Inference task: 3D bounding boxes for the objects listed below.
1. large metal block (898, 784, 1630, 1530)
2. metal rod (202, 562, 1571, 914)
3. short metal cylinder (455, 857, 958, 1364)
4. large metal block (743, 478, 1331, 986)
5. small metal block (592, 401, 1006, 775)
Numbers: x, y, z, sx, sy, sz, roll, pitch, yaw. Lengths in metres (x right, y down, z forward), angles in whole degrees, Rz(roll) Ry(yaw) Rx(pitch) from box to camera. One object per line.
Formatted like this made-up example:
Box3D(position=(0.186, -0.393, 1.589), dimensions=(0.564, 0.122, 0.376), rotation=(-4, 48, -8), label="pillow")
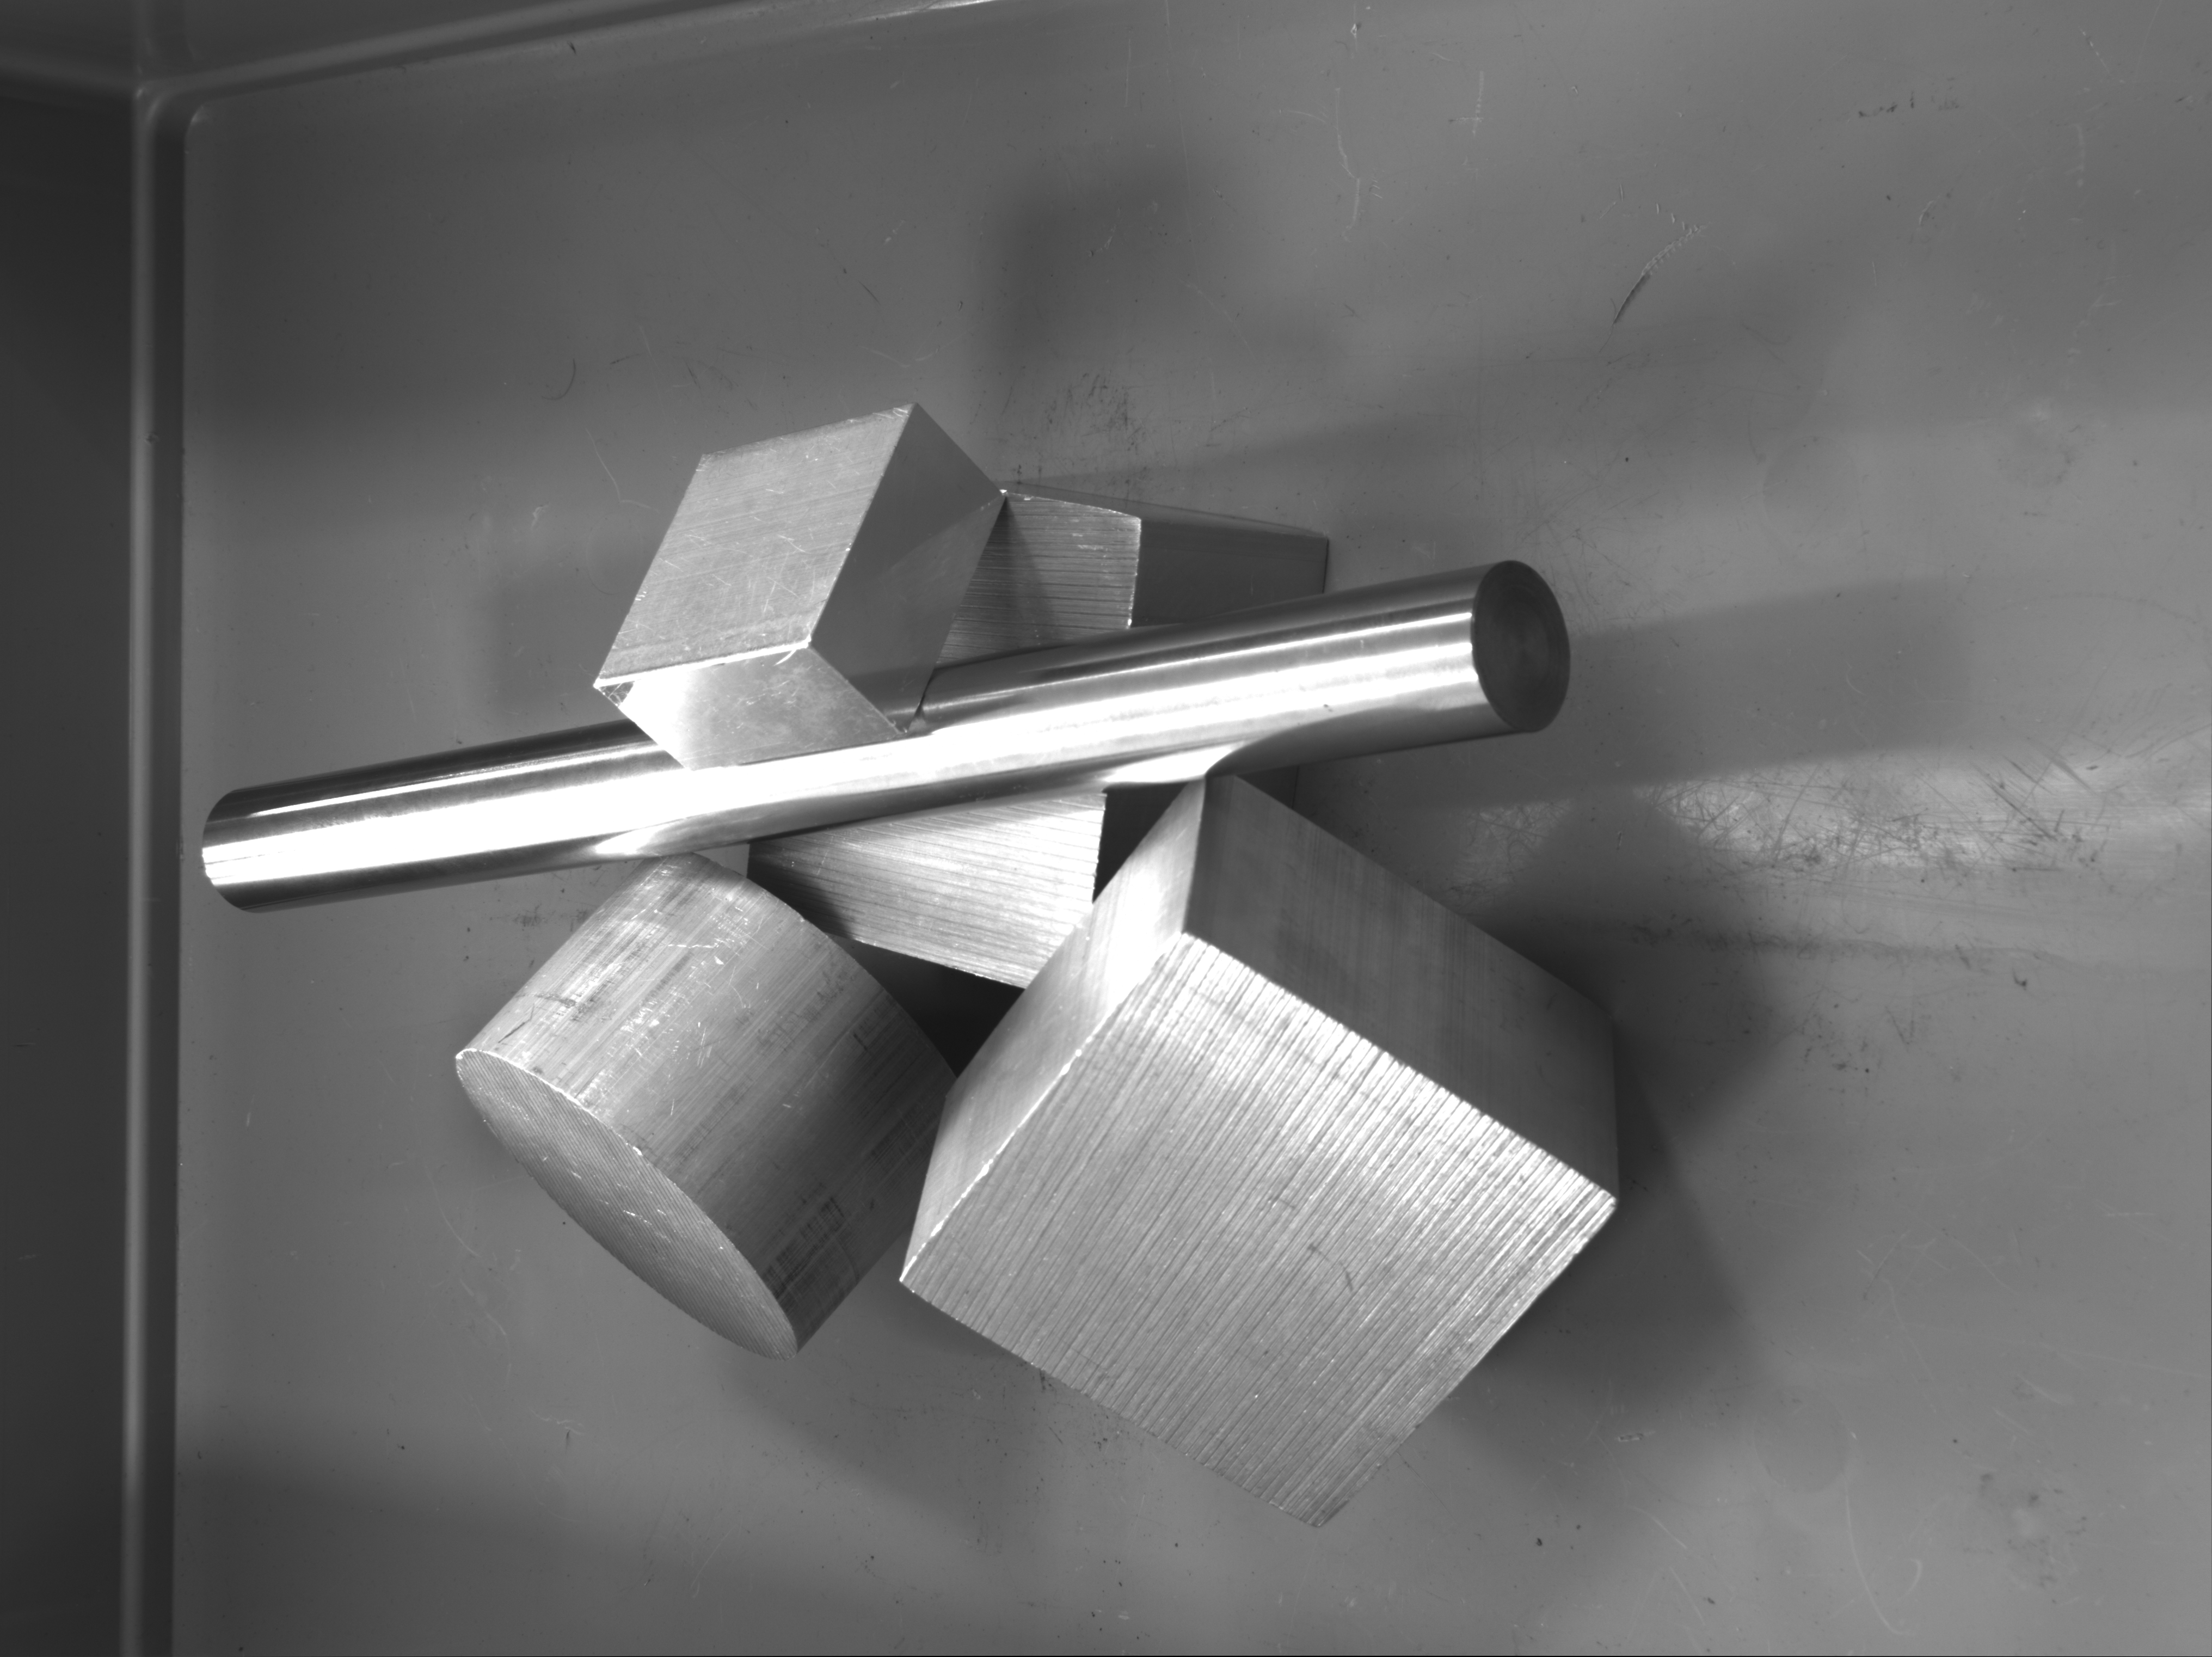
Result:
Box3D(position=(0.025, 0.050, 0.578), dimensions=(0.080, 0.050, 0.080), rotation=(31, 118, -11), label="large metal block")
Box3D(position=(-0.054, -0.011, 0.624), dimensions=(0.299, 0.025, 0.025), rotation=(-8, 85, 40), label="metal rod")
Box3D(position=(-0.070, 0.050, 0.659), dimensions=(0.080, 0.080, 0.050), rotation=(25, 63, 38), label="short metal cylinder")
Box3D(position=(-0.013, -0.019, 0.639), dimensions=(0.080, 0.050, 0.080), rotation=(14, 99, 39), label="large metal block")
Box3D(position=(-0.050, -0.039, 0.605), dimensions=(0.050, 0.025, 0.050), rotation=(-8, 50, 40), label="small metal block")
